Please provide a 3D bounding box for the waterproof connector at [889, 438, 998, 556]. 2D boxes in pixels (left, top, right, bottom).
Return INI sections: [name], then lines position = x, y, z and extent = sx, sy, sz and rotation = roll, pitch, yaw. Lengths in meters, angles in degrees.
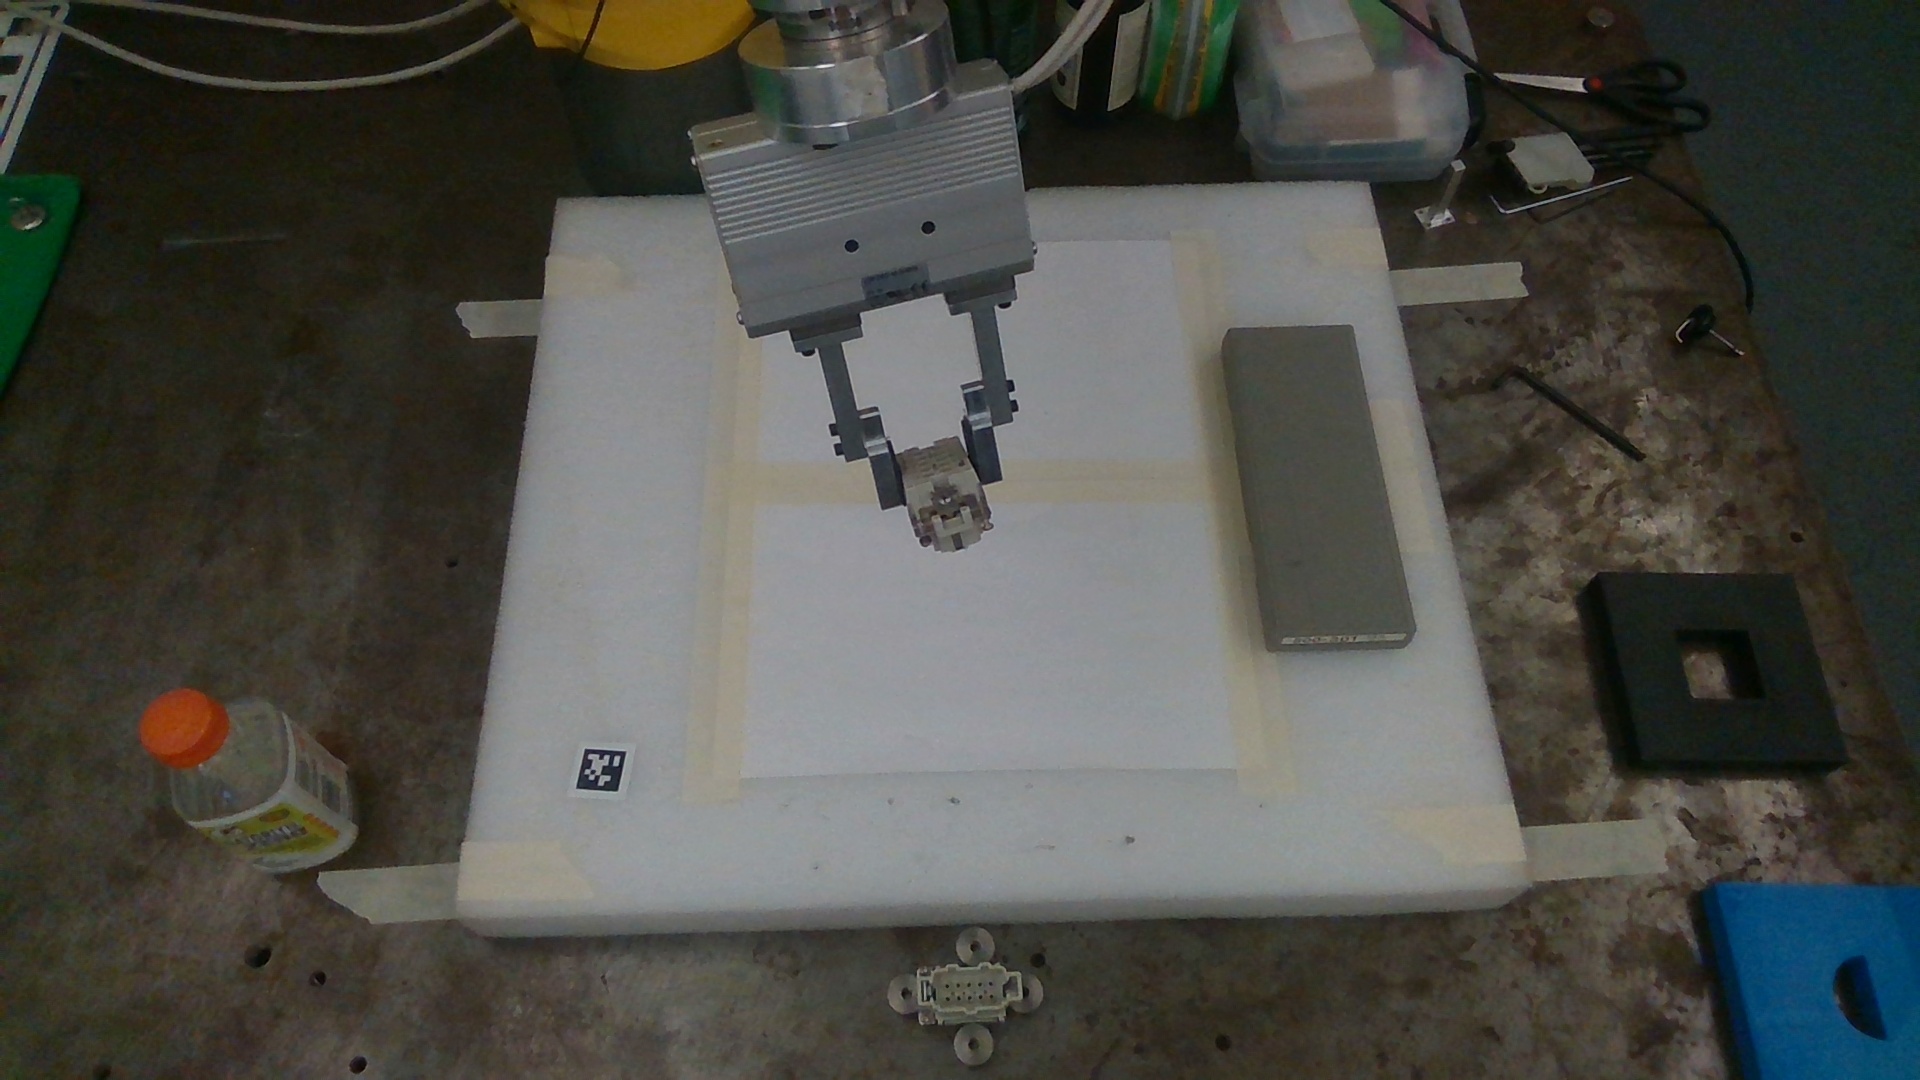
[waterproof connector]
position = -0.008, -0.019, 0.621
extent = 0.036, 0.038, 0.069
rotation = -17, 21, -7
